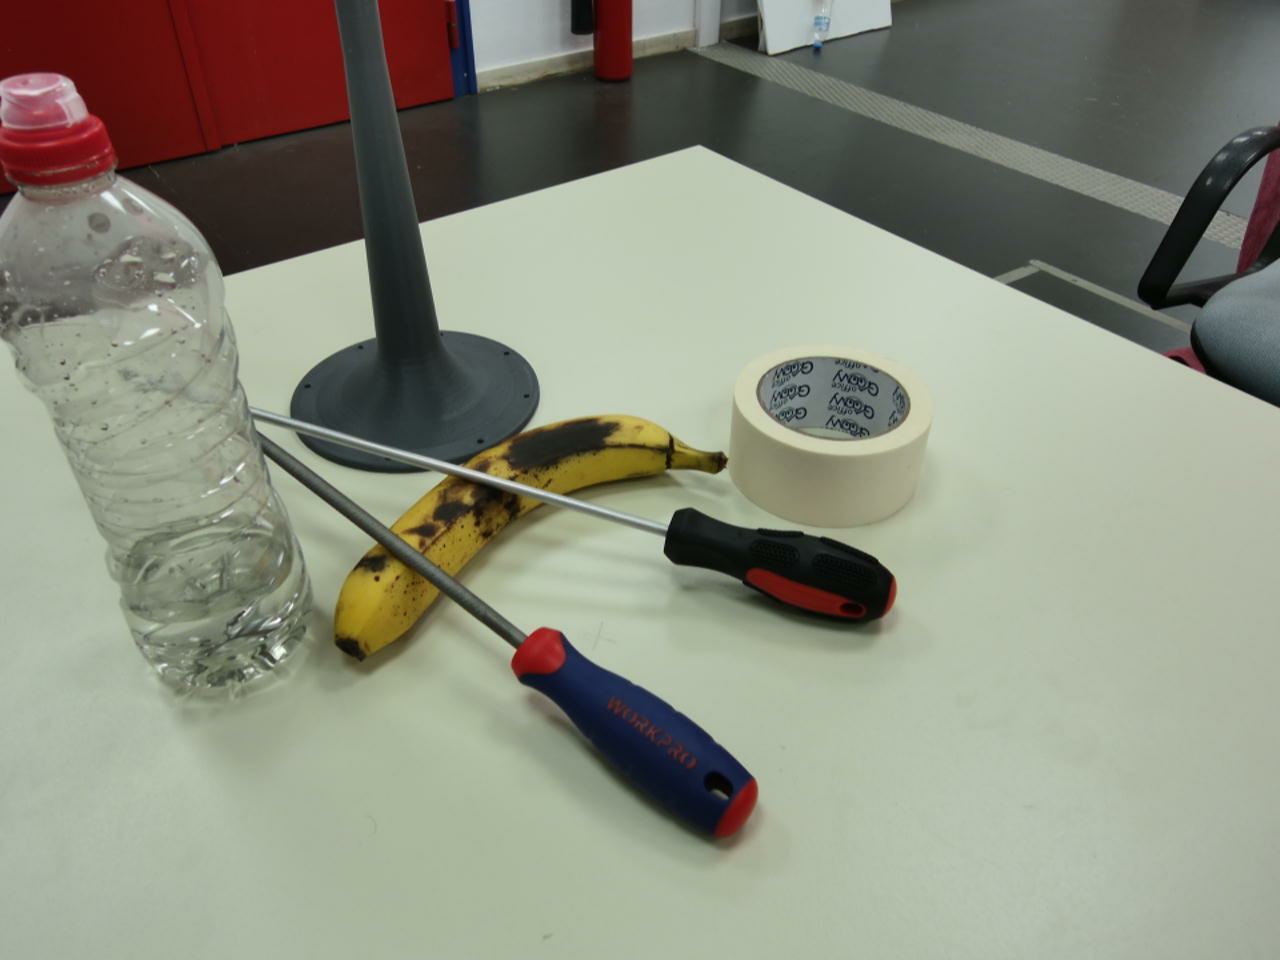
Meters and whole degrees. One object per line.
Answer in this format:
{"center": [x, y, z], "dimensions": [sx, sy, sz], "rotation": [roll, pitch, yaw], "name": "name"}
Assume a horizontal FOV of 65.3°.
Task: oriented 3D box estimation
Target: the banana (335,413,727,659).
{"center": [-0.063, 0.012, 0.505], "dimensions": [0.222, 0.037, 0.084], "rotation": [-25, 45, -30], "name": "banana"}
